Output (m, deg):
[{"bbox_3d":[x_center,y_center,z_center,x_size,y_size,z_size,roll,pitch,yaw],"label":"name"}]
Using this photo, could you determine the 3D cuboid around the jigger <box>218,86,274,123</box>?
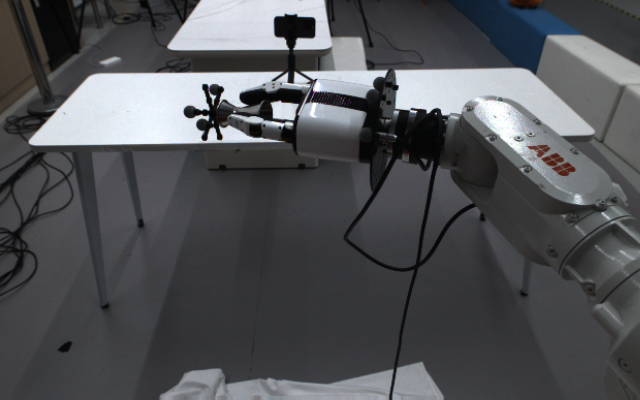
[{"bbox_3d":[-0.102,-0.126,0.682,0.071,0.043,0.043,5,34,18],"label":"jigger"}]
